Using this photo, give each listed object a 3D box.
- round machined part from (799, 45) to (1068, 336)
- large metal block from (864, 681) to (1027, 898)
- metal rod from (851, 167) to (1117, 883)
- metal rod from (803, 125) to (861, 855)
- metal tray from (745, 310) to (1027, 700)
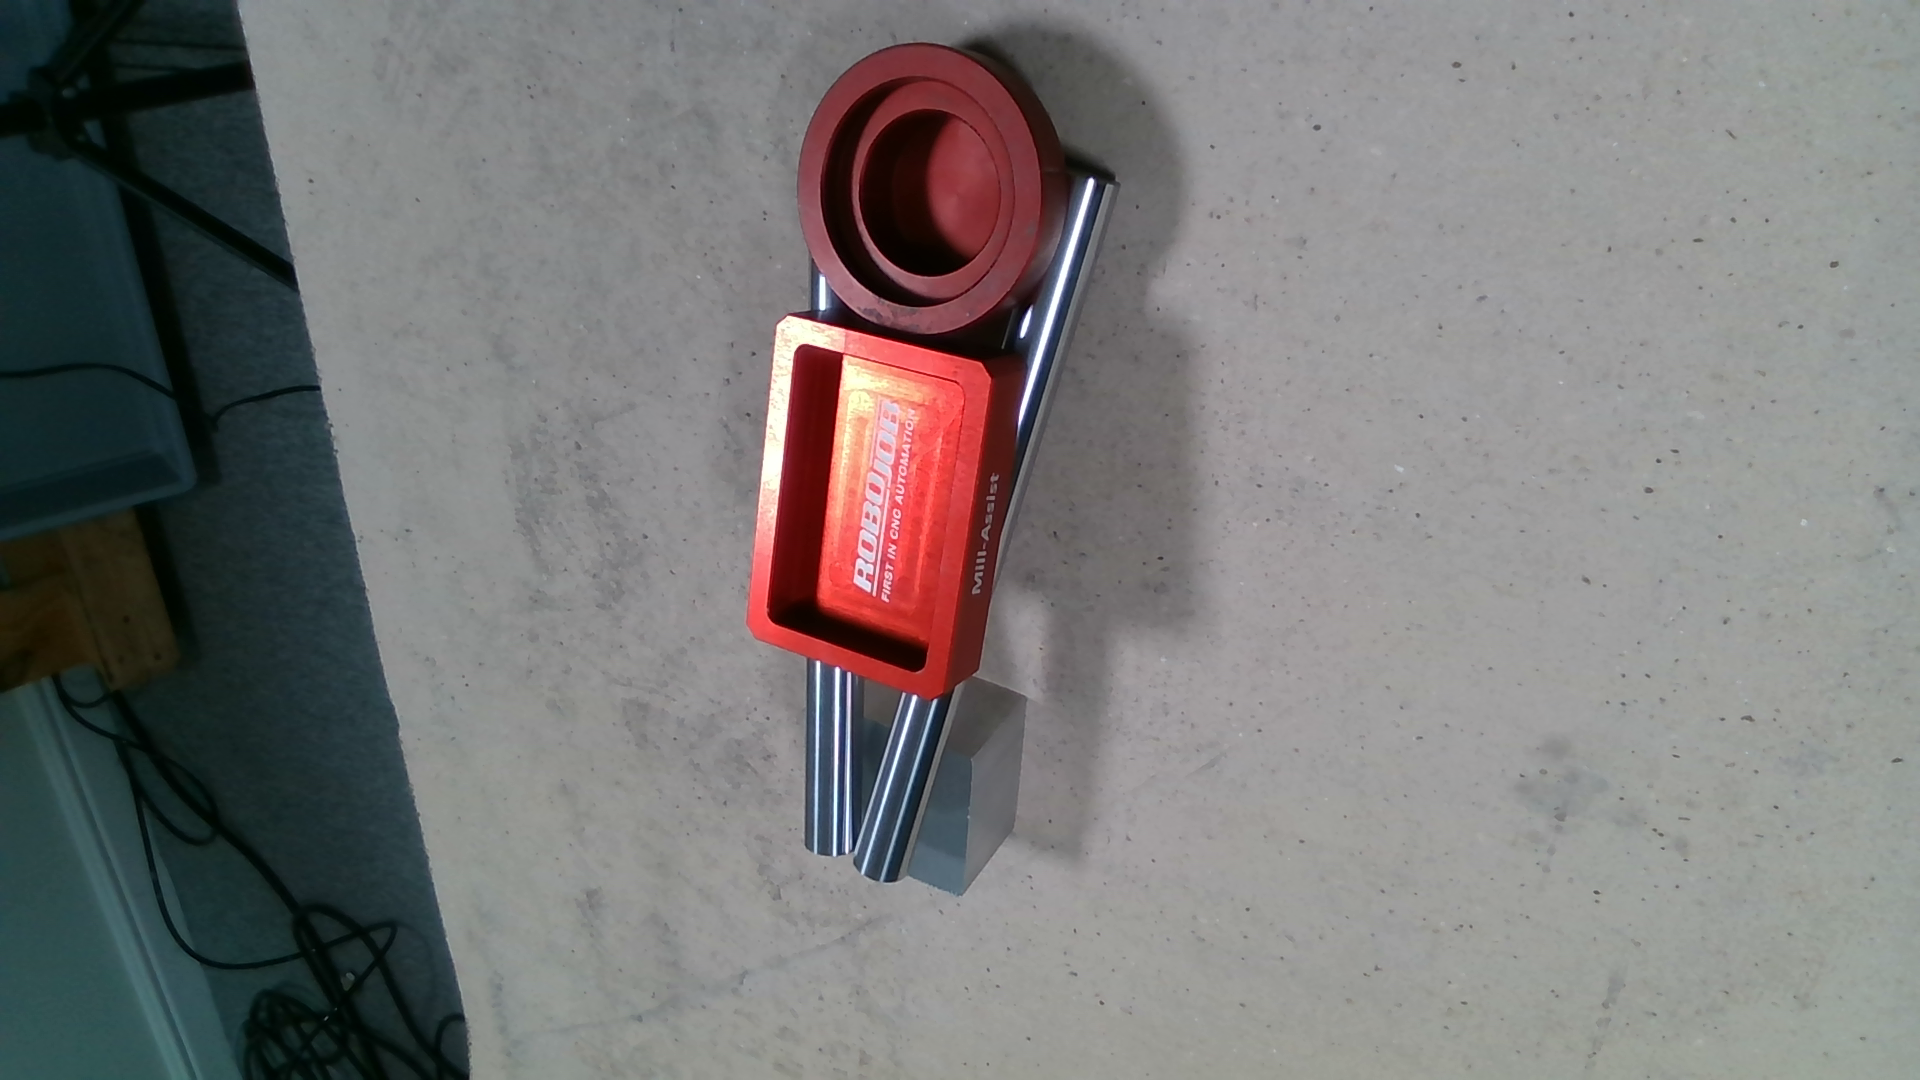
[{"bbox_3d":[-0.006,-0.125,0.497,0.098,0.042,0.098,8,109,26],"label":"round machined part"},{"bbox_3d":[-0.019,0.104,0.631,0.080,0.050,0.080,18,123,23],"label":"large metal block"},{"bbox_3d":[0.004,0.006,0.539,0.025,0.025,0.301,24,113,19],"label":"metal rod"},{"bbox_3d":[-0.051,-0.013,0.563,0.025,0.025,0.300,10,107,27],"label":"metal rod"},{"bbox_3d":[-0.030,-0.015,0.520,0.090,0.030,0.130,17,110,23],"label":"metal tray"}]
